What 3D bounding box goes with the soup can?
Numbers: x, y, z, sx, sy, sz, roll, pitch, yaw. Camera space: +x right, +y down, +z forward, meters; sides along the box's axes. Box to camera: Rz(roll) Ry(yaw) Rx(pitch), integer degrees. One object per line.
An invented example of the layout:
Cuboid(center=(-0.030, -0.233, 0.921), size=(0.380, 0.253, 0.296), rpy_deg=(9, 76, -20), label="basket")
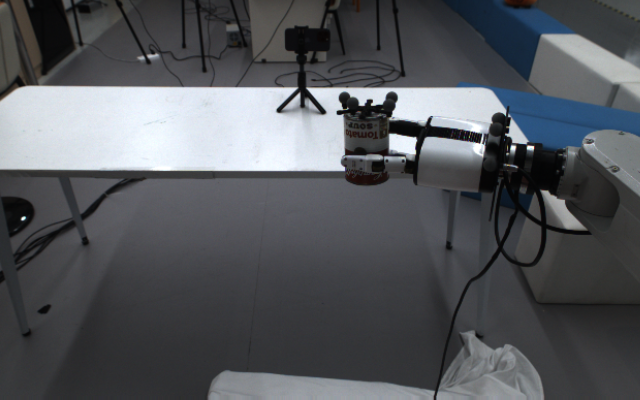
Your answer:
Cuboid(center=(0.070, -0.082, 0.716), size=(0.067, 0.101, 0.067), rpy_deg=(-3, 27, 2), label="soup can")
